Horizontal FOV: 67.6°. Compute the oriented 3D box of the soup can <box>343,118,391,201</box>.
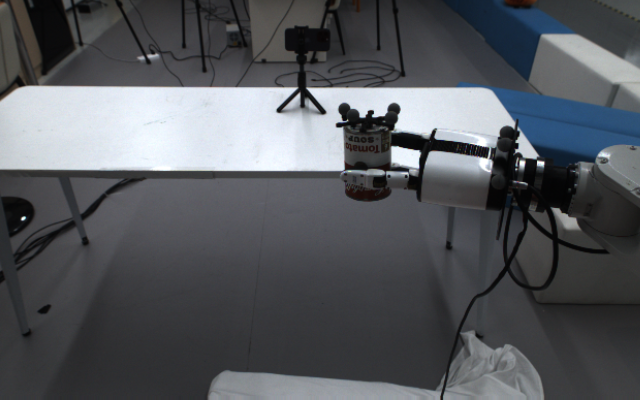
[{"bbox_3d":[0.068,-0.059,0.683,0.067,0.101,0.067,-3,27,2],"label":"soup can"}]
